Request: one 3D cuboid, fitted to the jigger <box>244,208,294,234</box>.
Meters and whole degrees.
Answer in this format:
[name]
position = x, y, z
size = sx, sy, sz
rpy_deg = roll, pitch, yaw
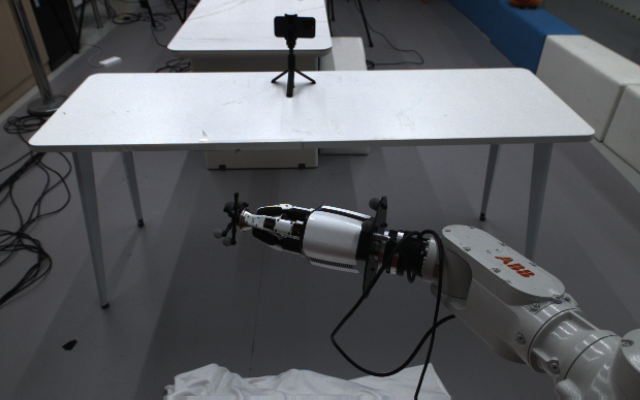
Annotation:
[jigger]
position = -0.086, 0.033, 0.783
size = 0.071, 0.043, 0.043
rpy_deg = 7, 35, 15
